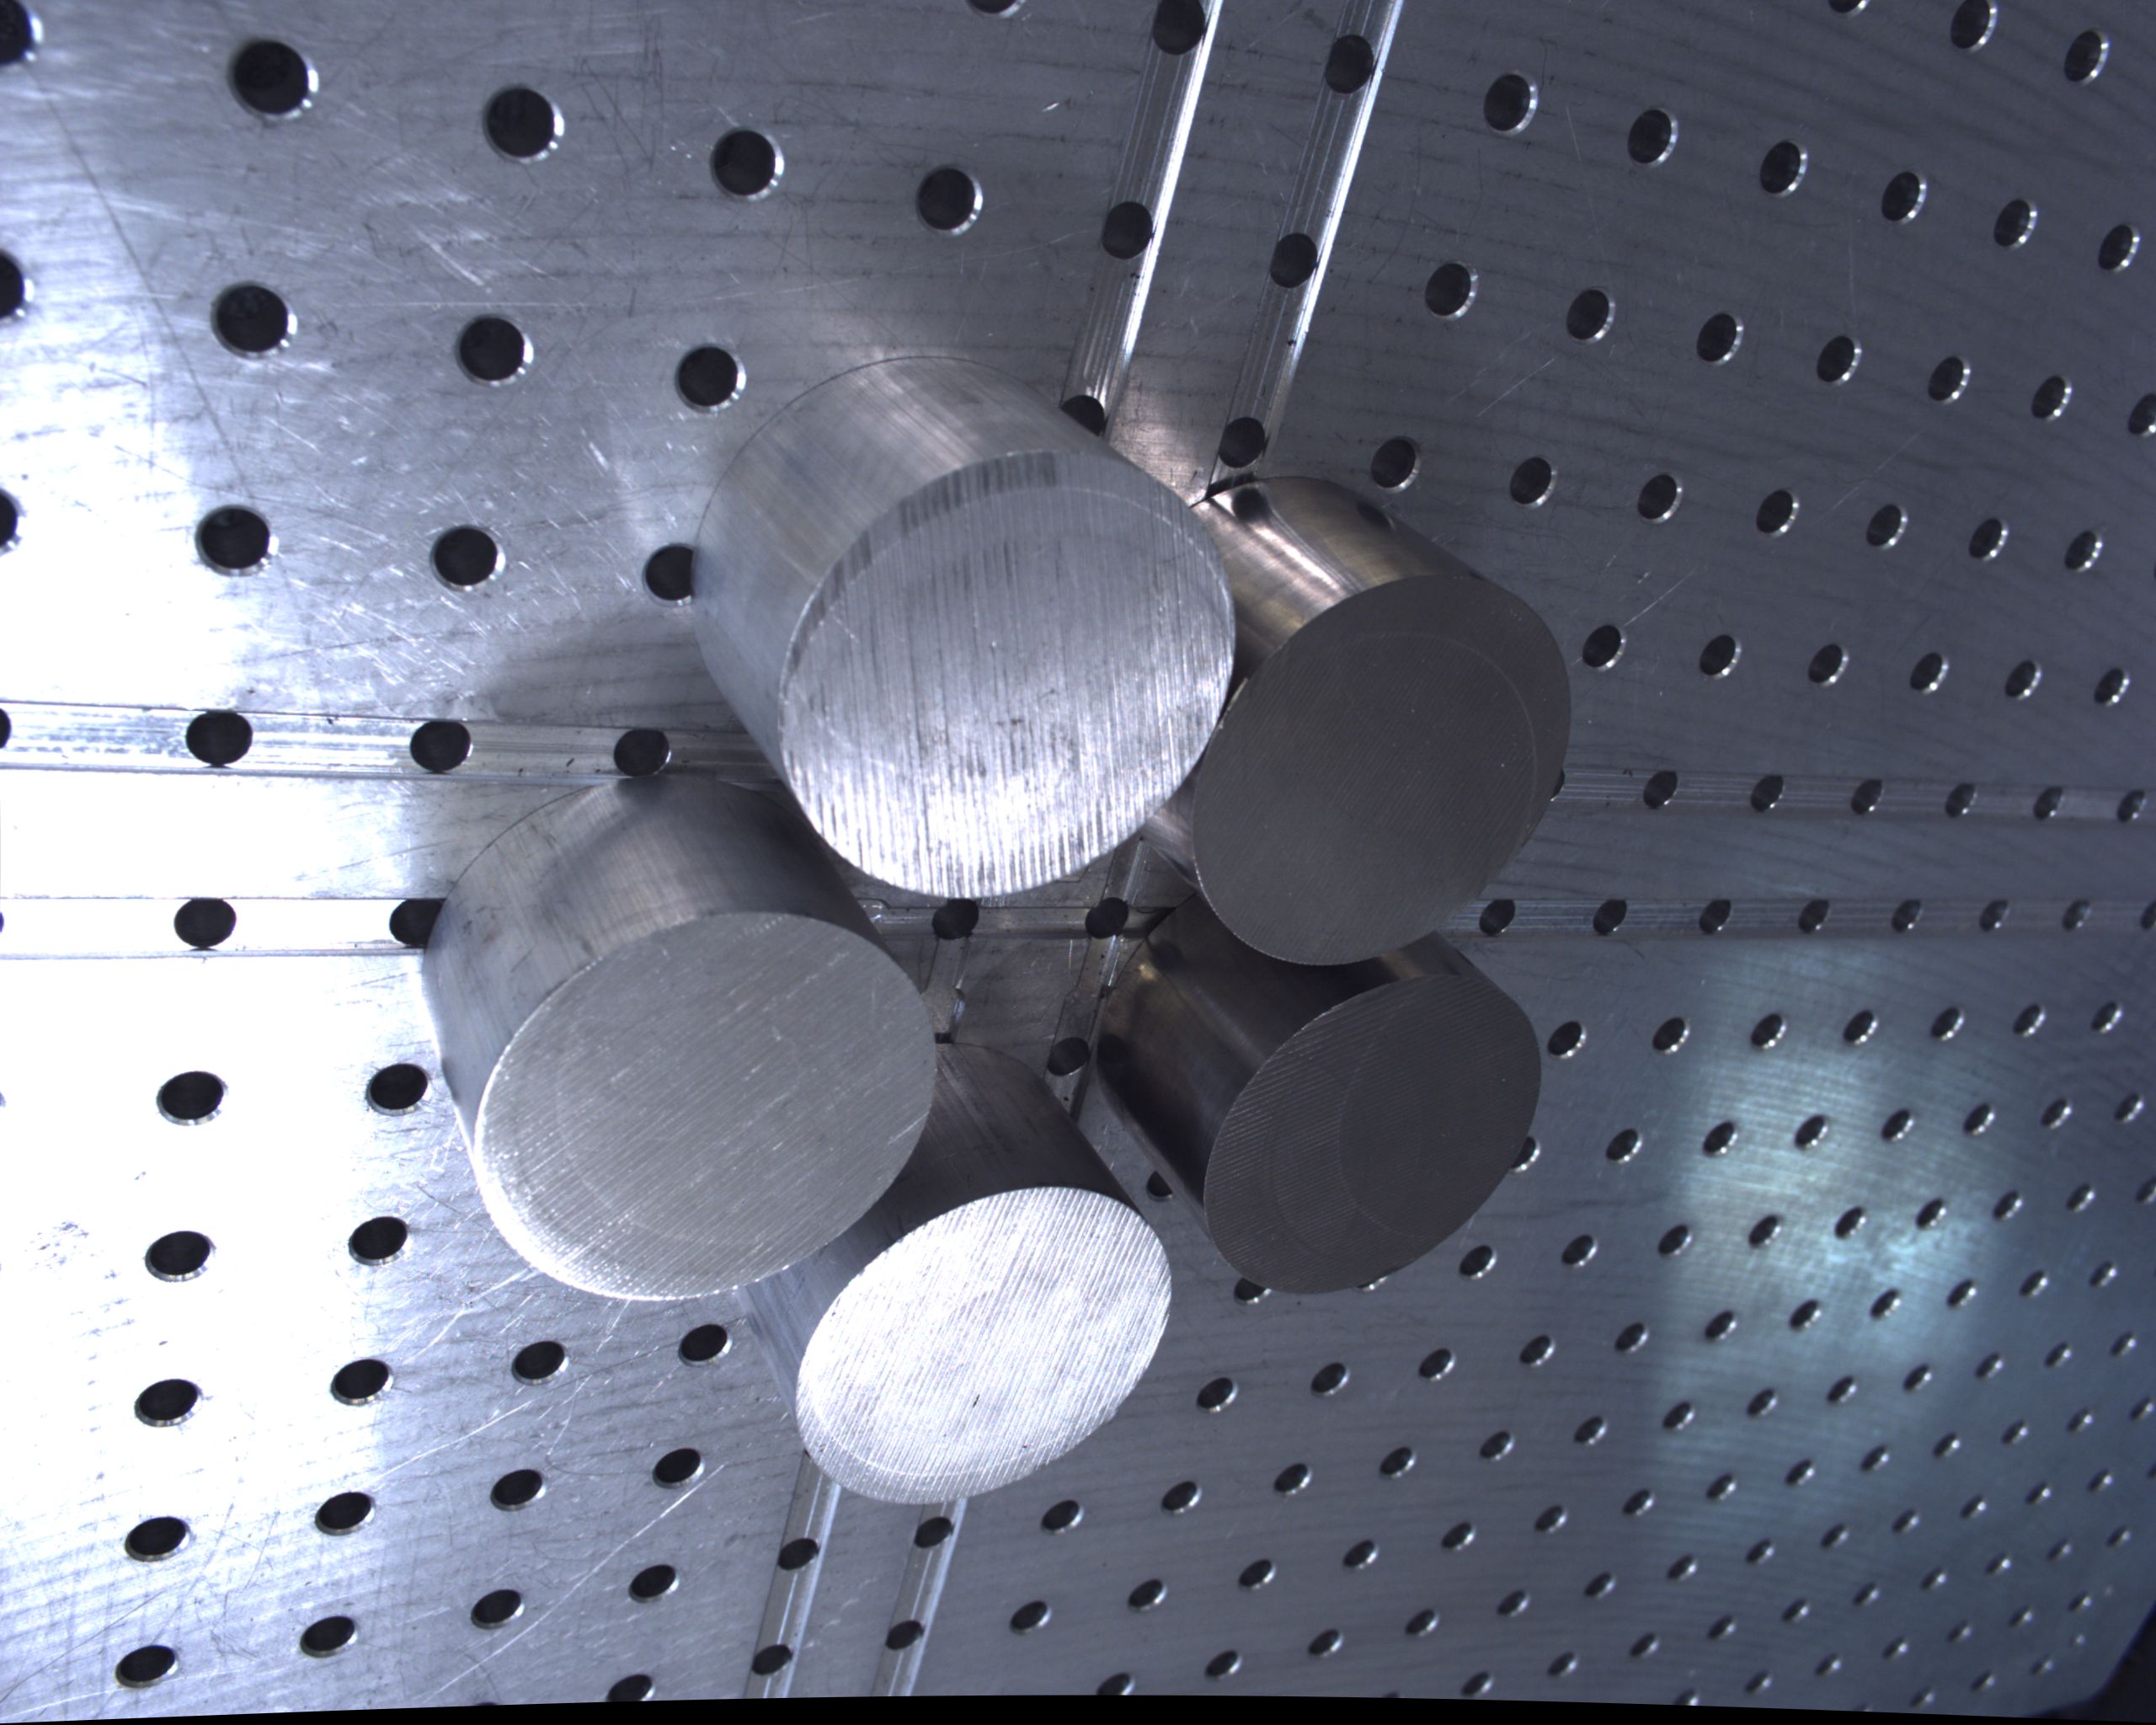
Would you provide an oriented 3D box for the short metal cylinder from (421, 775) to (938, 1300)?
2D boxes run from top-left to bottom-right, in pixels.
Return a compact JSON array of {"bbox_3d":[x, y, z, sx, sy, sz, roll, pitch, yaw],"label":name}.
[{"bbox_3d":[-0.072,0.031,0.374,0.081,0.050,0.079,-14,125,-21],"label":"short metal cylinder"}]

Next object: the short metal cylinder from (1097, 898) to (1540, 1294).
[{"bbox_3d":[0.051,0.046,0.450,0.081,0.050,0.079,-14,126,-20],"label":"short metal cylinder"}]

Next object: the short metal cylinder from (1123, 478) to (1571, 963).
[{"bbox_3d":[0.046,-0.028,0.402,0.081,0.050,0.079,-14,124,-21],"label":"short metal cylinder"}]

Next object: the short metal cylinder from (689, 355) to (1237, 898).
[{"bbox_3d":[-0.020,-0.041,0.358,0.081,0.050,0.079,-14,125,-21],"label":"short metal cylinder"}]

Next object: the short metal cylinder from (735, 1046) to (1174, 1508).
[{"bbox_3d":[-0.027,0.085,0.431,0.081,0.050,0.079,-13,124,-21],"label":"short metal cylinder"}]
